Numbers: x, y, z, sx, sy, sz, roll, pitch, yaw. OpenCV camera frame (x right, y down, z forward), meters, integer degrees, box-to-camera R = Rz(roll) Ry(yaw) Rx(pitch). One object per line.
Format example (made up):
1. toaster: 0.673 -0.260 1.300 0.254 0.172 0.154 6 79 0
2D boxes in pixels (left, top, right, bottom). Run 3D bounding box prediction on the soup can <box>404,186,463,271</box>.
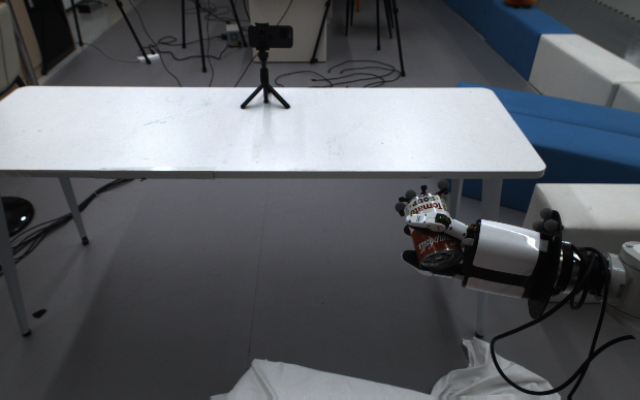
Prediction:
1. soup can: 0.174 0.048 0.744 0.067 0.067 0.101 -5 57 -10
